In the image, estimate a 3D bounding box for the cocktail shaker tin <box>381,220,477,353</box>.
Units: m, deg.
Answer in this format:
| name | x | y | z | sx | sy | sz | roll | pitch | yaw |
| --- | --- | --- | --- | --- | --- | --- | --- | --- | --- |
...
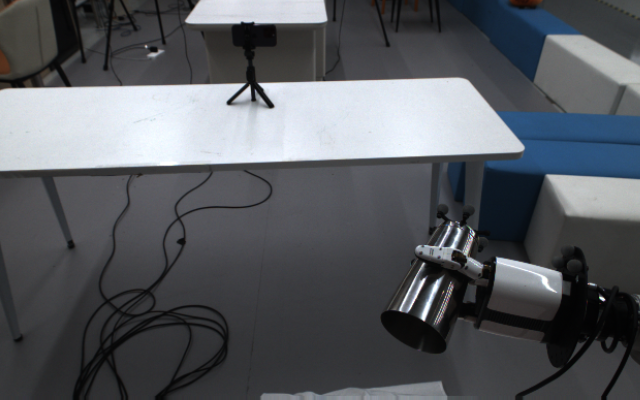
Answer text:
| name | x | y | z | sx | sy | sz | roll | pitch | yaw |
| --- | --- | --- | --- | --- | --- | --- | --- | --- | --- |
| cocktail shaker tin | 0.163 | 0.107 | 0.664 | 0.093 | 0.093 | 0.170 | 19 | 55 | 23 |
